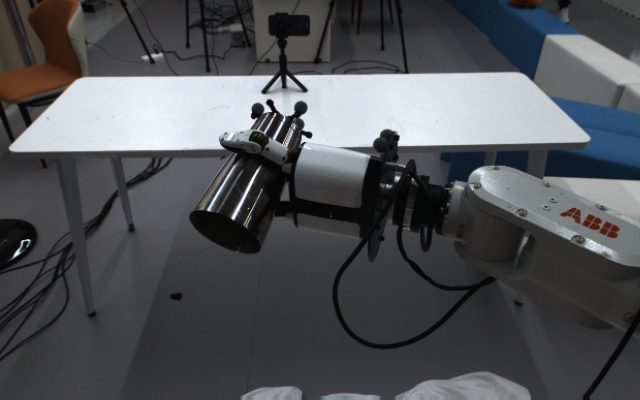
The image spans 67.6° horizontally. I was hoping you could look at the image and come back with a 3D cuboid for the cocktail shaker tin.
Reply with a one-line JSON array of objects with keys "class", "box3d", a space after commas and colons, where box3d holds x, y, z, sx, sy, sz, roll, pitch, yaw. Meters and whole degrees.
[{"class": "cocktail shaker tin", "box3d": [-0.084, -0.029, 0.610, 0.093, 0.093, 0.170, 13, 58, 16]}]
